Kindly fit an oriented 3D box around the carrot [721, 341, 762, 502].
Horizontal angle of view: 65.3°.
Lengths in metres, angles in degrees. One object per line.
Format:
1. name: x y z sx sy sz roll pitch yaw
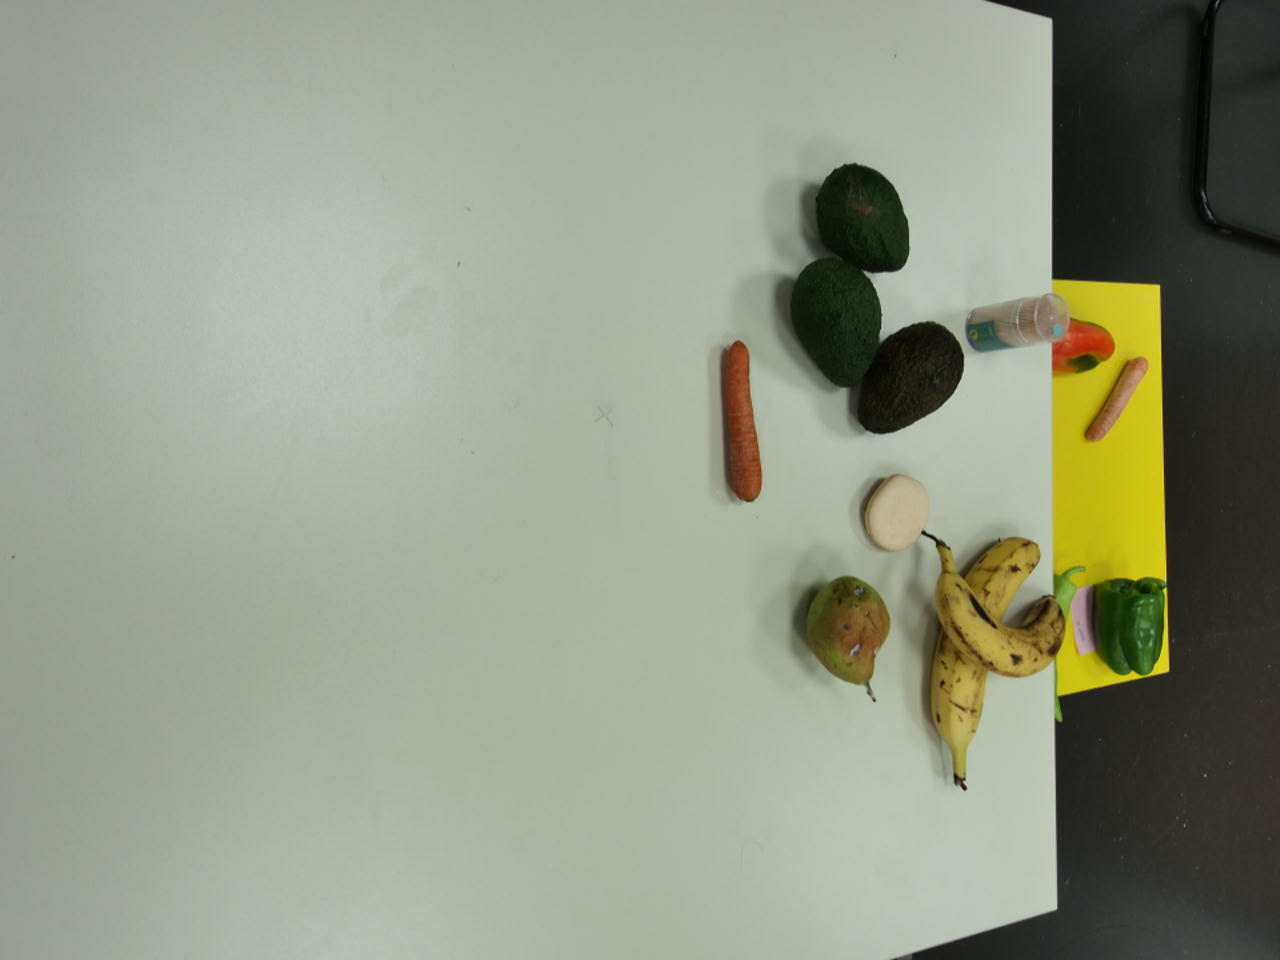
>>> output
1. carrot: 0.076 -0.044 0.749 0.024 0.023 0.122 -3 92 -28
